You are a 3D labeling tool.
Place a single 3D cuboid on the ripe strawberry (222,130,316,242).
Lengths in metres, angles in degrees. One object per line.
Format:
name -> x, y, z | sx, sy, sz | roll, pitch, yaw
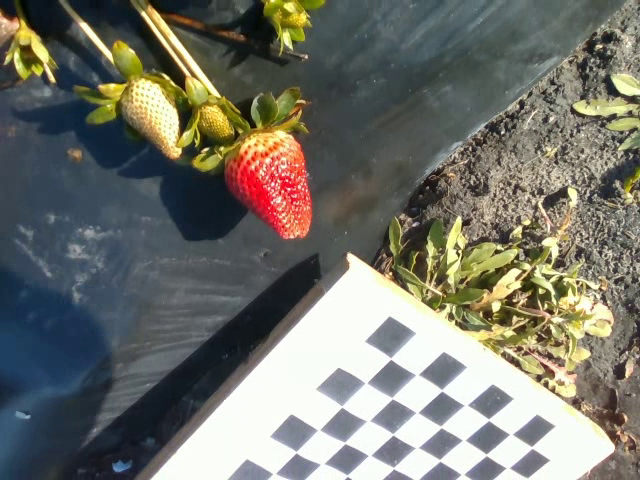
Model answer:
ripe strawberry -> -0.021, -0.022, 0.269 | 0.042, 0.059, 0.042 | -29, 18, 5
